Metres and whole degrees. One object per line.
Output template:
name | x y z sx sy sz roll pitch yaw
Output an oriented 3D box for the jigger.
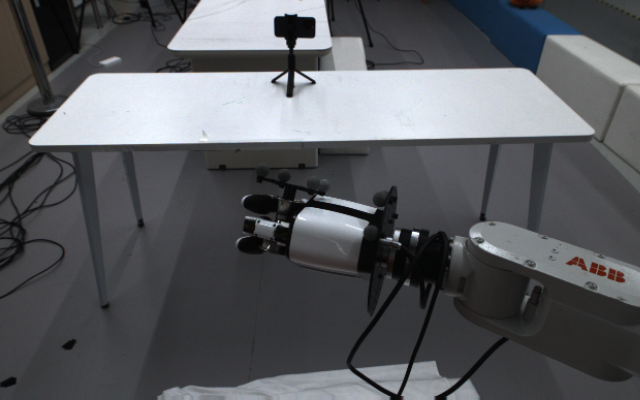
jigger | -0.045 0.032 0.614 0.043 0.071 0.043 14 1 0
